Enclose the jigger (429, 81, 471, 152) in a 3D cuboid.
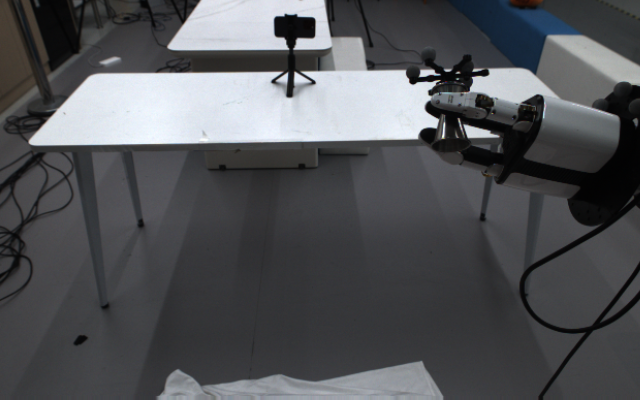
[{"bbox_3d":[0.145,-0.094,0.544,0.043,0.043,0.071,3,76,1],"label":"jigger"}]
